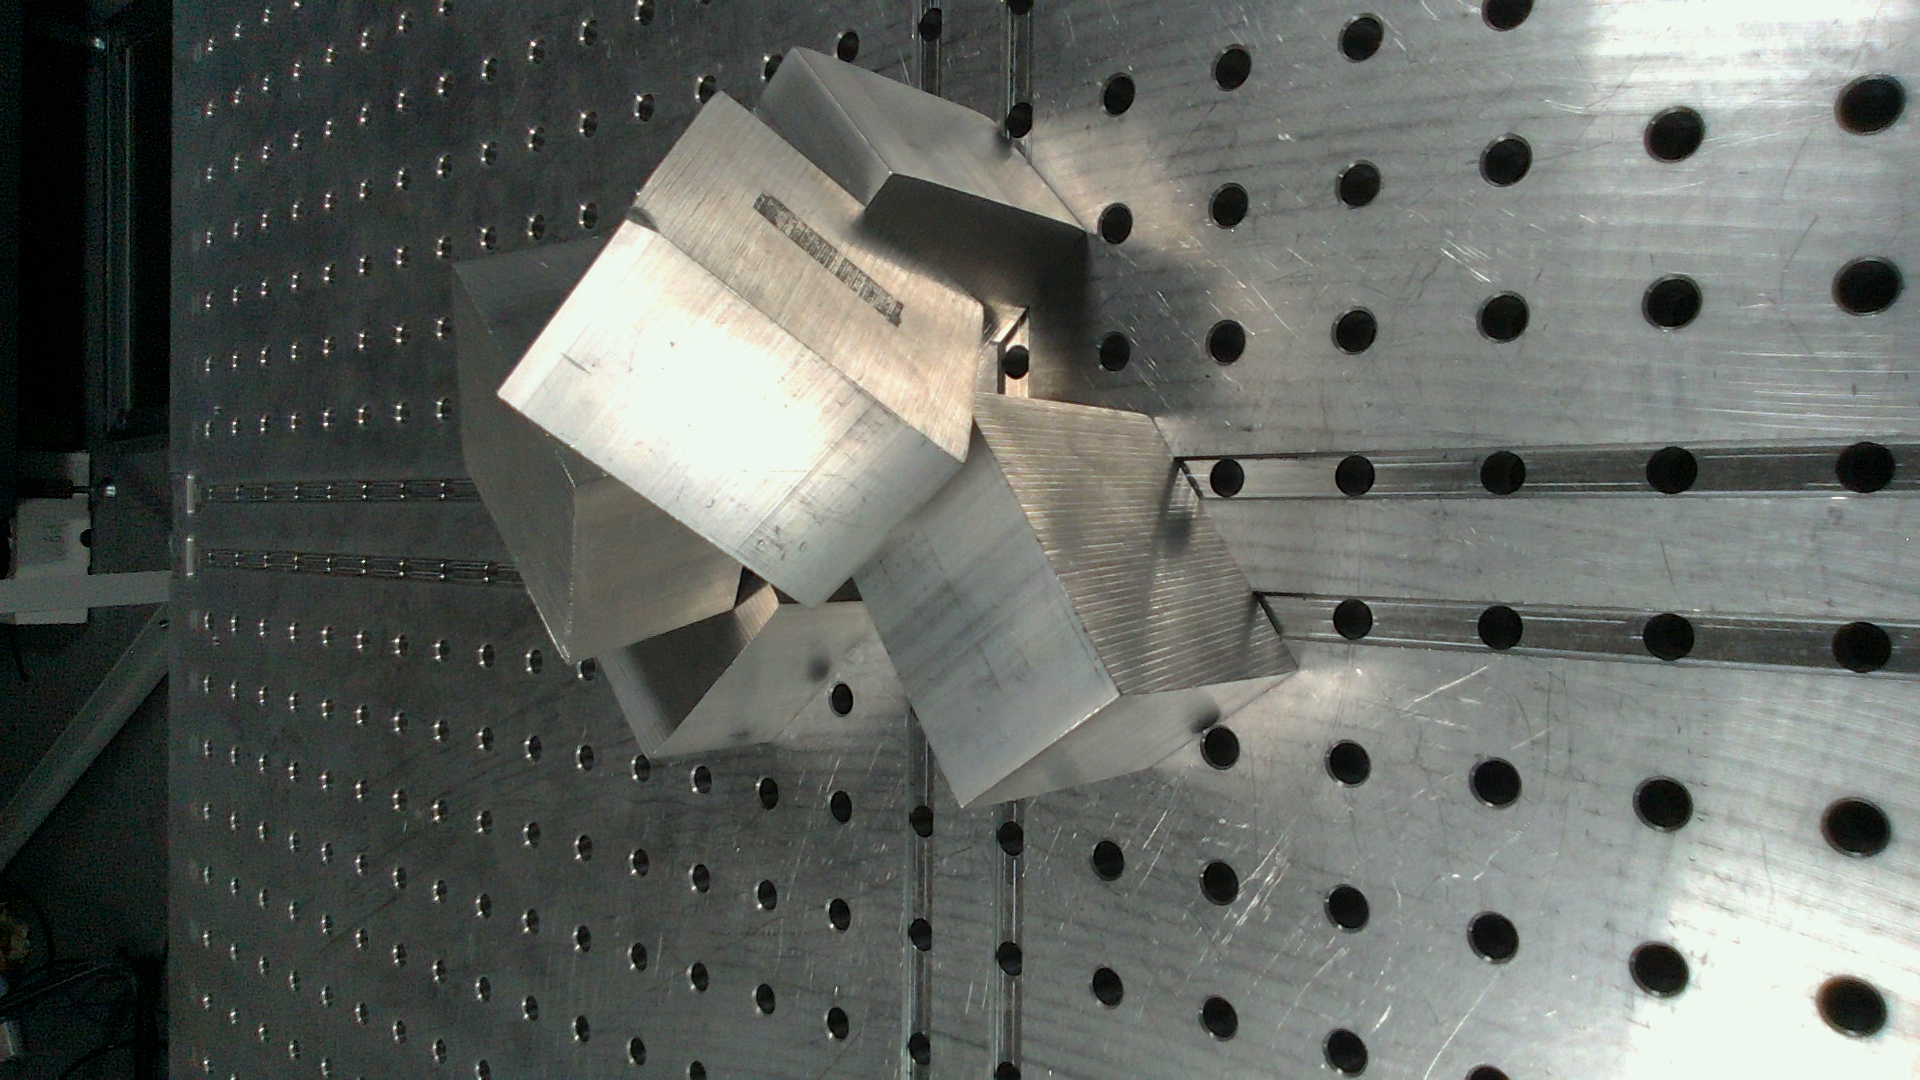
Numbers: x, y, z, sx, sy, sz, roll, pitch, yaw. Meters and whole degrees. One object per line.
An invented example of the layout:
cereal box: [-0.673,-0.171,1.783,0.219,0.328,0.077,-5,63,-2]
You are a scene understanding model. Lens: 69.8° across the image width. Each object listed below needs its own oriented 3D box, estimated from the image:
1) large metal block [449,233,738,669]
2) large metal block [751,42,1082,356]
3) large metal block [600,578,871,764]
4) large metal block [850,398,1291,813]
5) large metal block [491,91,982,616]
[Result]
large metal block: [-0.099,-0.025,0.379,0.080,0.050,0.080,55,148,26]
large metal block: [-0.027,-0.079,0.383,0.080,0.080,0.050,-49,61,29]
large metal block: [-0.078,0.014,0.446,0.080,0.050,0.080,-47,62,30]
large metal block: [0.024,0.014,0.340,0.050,0.080,0.080,-41,65,32]
large metal block: [-0.043,-0.044,0.305,0.050,0.080,0.080,-44,21,26]
